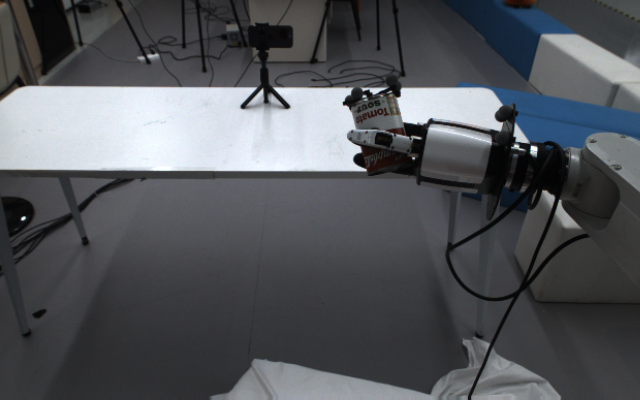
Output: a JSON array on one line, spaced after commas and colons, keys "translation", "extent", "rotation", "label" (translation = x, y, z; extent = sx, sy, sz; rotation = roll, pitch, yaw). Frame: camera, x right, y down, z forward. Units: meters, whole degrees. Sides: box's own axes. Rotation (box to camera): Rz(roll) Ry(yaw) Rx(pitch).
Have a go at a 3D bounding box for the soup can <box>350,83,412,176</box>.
[{"translation": [0.087, -0.092, 0.687], "extent": [0.067, 0.101, 0.067], "rotation": [-14, -2, -1], "label": "soup can"}]
